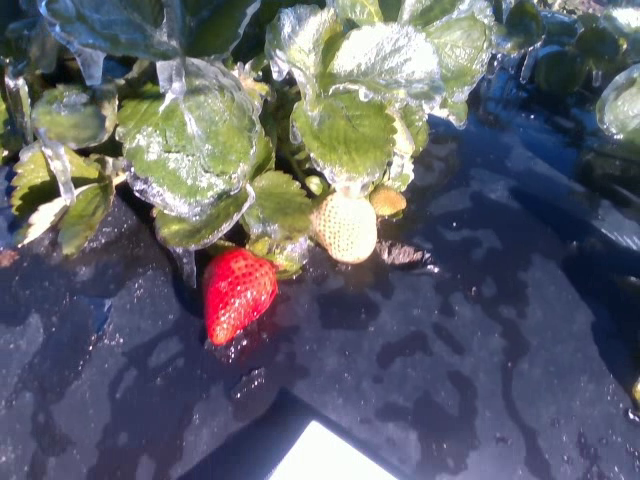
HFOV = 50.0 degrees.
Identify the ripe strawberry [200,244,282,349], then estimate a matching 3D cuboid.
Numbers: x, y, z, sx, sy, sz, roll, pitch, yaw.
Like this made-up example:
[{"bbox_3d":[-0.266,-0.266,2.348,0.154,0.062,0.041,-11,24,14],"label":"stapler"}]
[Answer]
[{"bbox_3d":[-0.044,0.027,0.328,0.041,0.052,0.040,15,-27,12],"label":"ripe strawberry"}]
